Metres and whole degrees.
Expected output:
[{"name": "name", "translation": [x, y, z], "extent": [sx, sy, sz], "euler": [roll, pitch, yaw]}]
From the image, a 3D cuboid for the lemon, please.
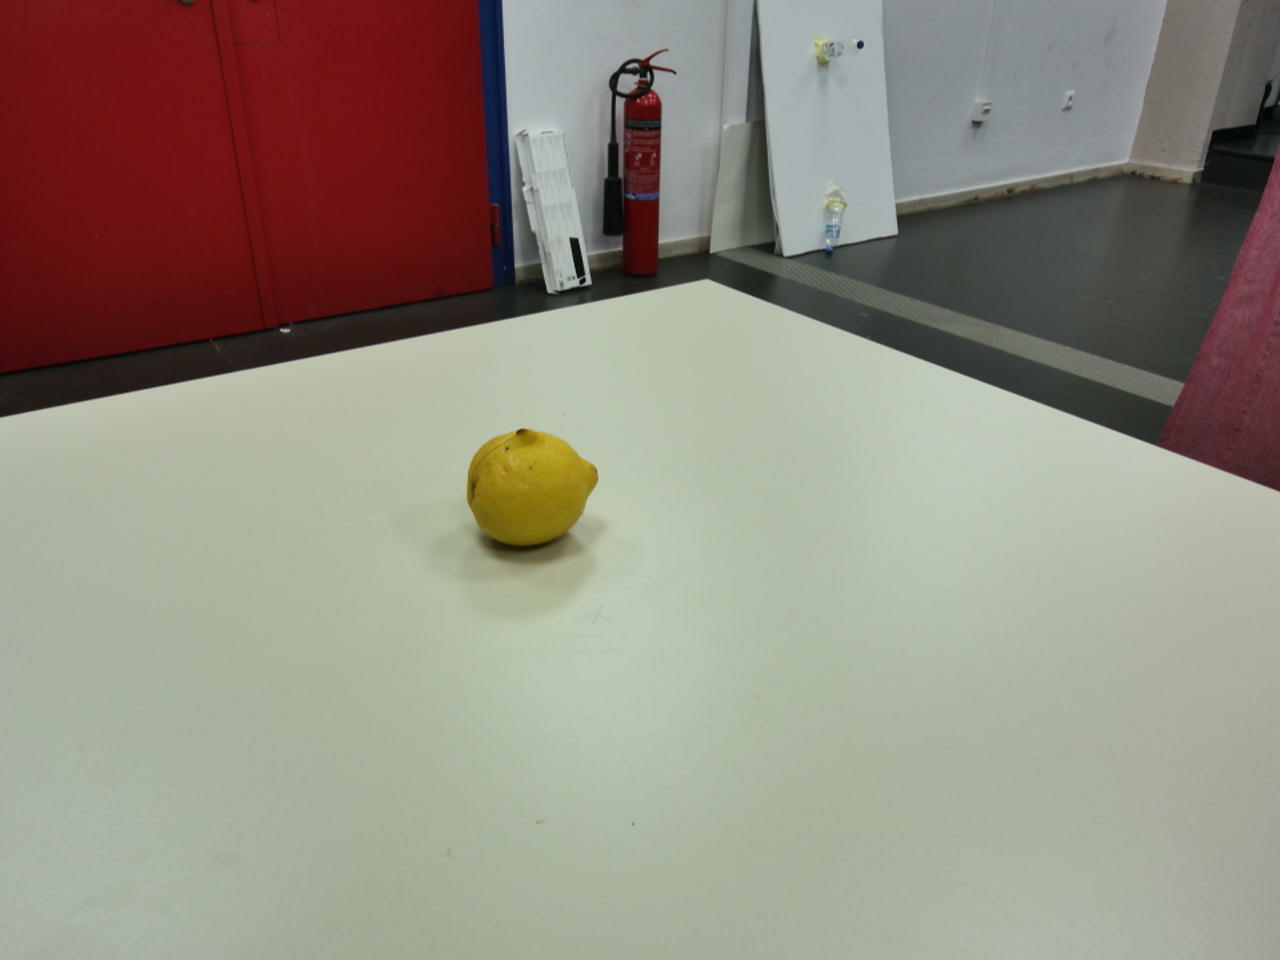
[{"name": "lemon", "translation": [-0.066, 0.002, 0.582], "extent": [0.071, 0.071, 0.070], "euler": [9, 27, 17]}]
